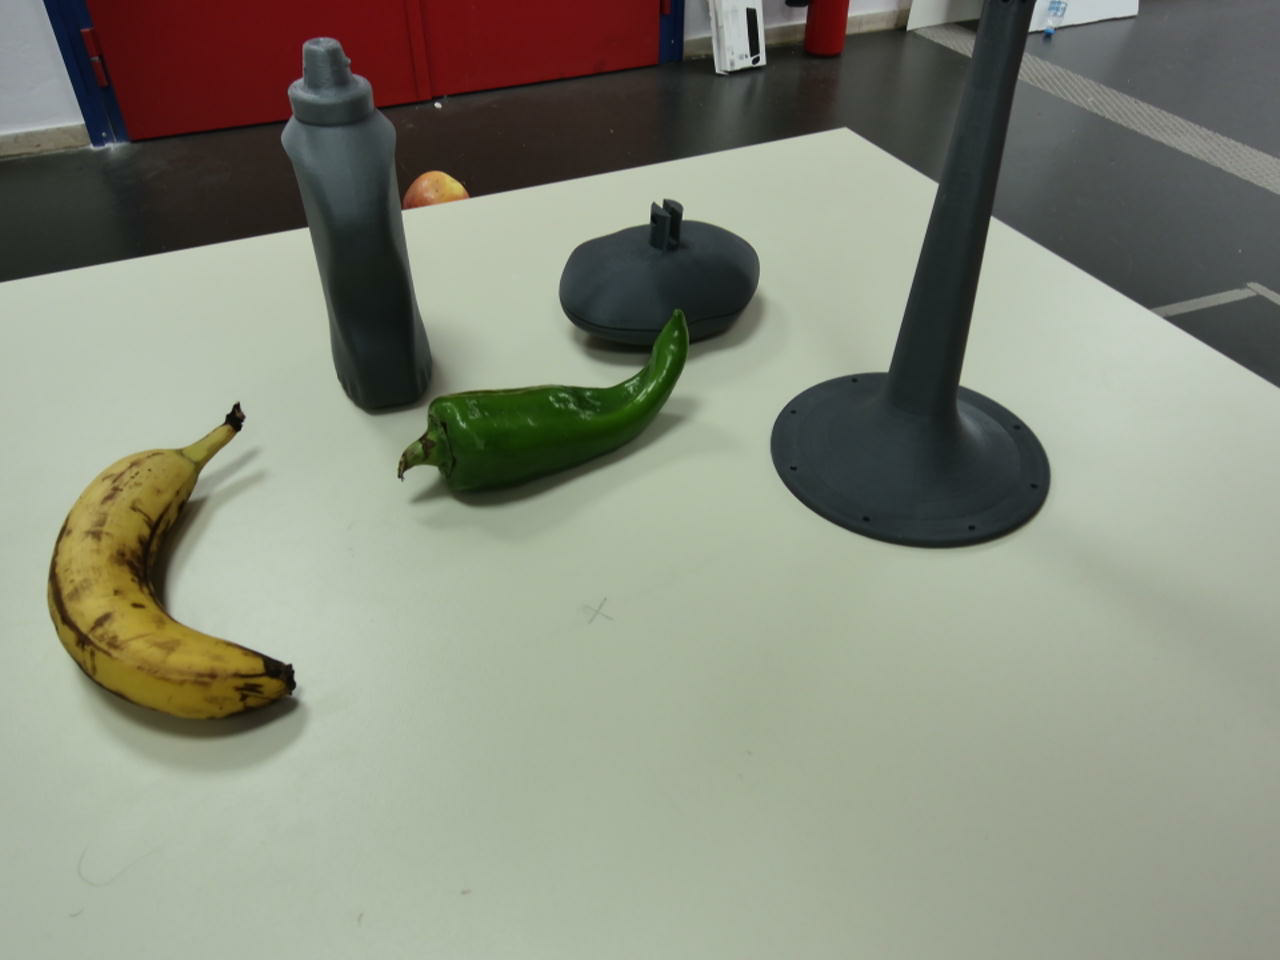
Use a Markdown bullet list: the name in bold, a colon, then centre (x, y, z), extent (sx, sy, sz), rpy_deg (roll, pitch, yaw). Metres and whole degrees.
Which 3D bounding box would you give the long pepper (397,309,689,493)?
- **long pepper**: centre (-0.046, -0.039, 0.532), extent (0.175, 0.065, 0.058), rpy_deg (-17, 42, -21)
